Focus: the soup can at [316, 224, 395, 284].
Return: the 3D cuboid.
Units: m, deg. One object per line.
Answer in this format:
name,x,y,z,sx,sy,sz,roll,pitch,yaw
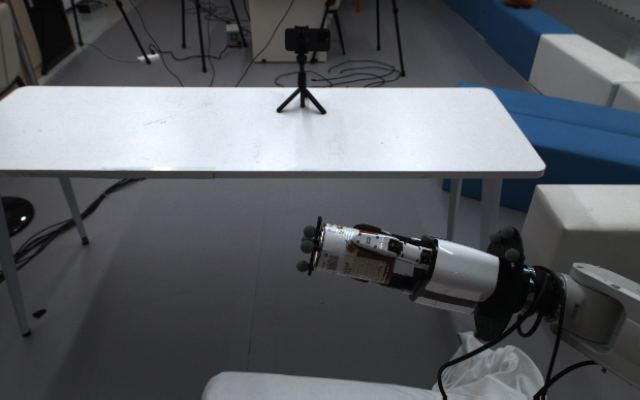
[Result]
soup can,0.050,0.073,0.662,0.101,0.067,0.067,11,35,-1
